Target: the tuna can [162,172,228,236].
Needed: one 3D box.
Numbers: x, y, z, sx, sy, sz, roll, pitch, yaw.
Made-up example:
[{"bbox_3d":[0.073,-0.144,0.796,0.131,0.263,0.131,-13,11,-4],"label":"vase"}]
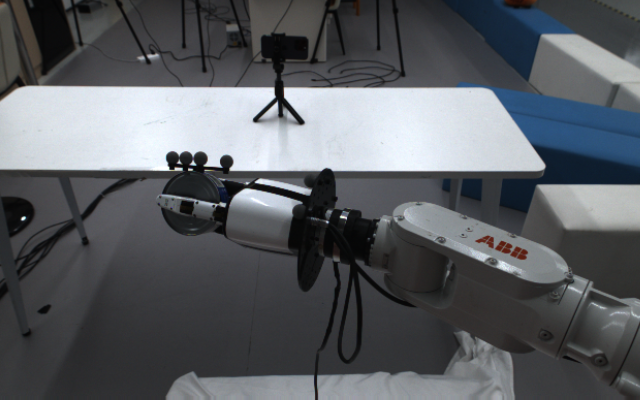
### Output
[{"bbox_3d":[-0.166,0.004,0.648,0.085,0.085,0.034,12,3,14],"label":"tuna can"}]
